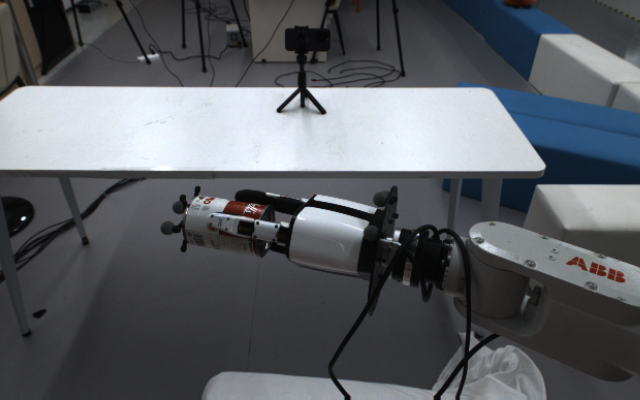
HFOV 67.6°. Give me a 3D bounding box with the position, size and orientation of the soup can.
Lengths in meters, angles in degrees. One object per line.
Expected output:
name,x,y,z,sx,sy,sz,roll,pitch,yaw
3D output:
soup can,-0.114,0.034,0.627,0.101,0.067,0.067,8,35,11
